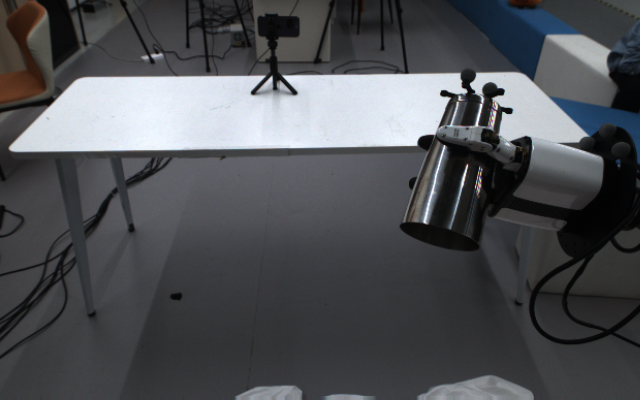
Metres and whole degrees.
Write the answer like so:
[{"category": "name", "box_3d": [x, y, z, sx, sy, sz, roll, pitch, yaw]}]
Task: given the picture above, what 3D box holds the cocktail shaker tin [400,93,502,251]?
[{"category": "cocktail shaker tin", "box_3d": [0.163, -0.035, 0.570, 0.093, 0.093, 0.170, 15, 75, 18]}]
